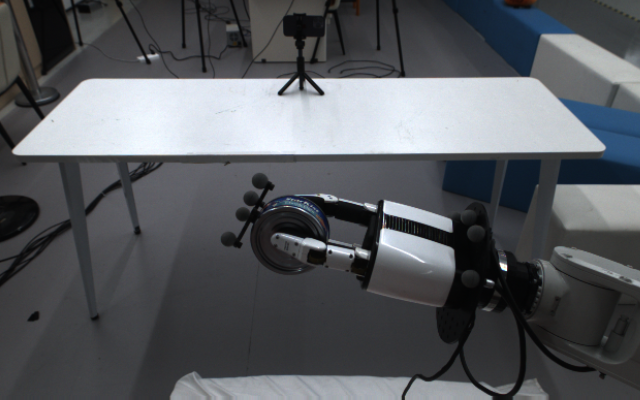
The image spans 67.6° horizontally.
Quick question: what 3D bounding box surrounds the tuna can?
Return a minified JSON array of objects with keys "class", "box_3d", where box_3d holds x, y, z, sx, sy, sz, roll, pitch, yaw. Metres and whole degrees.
[{"class":"tuna can","box_3d":[-0.029,0.043,0.537,0.085,0.085,0.034,3,21,1]}]
